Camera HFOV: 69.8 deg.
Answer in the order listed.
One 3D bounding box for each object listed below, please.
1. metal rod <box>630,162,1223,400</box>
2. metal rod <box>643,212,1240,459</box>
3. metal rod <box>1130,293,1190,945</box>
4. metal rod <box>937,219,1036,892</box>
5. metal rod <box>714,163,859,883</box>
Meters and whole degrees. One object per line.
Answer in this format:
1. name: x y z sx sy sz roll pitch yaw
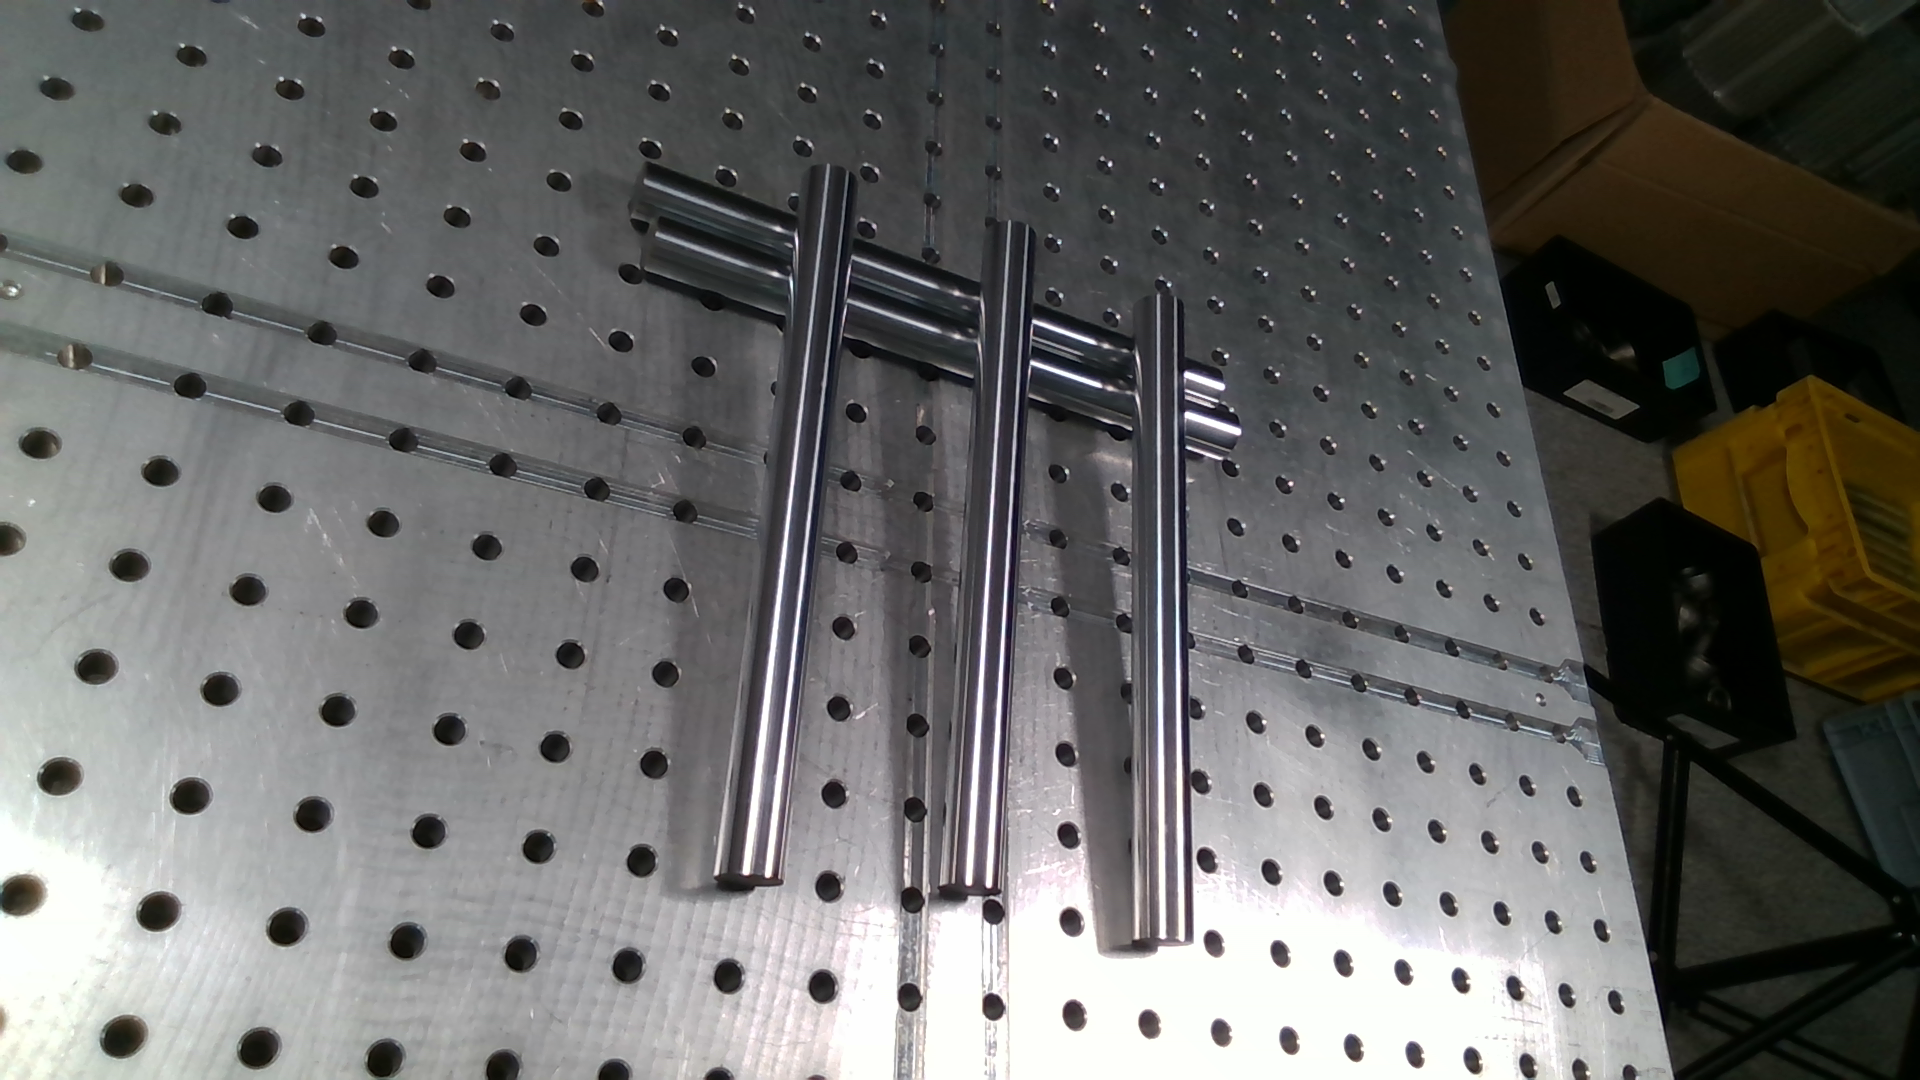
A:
1. metal rod: -0.004 -0.113 0.646 0.300 0.025 0.025 15 58 -24
2. metal rod: 0.002 -0.089 0.638 0.300 0.025 0.025 15 58 -24
3. metal rod: 0.088 0.024 0.612 0.025 0.025 0.299 15 64 -25
4. metal rod: 0.013 -0.005 0.580 0.025 0.025 0.299 15 64 -24
5. metal rod: -0.065 -0.019 0.540 0.025 0.025 0.299 15 64 -25
